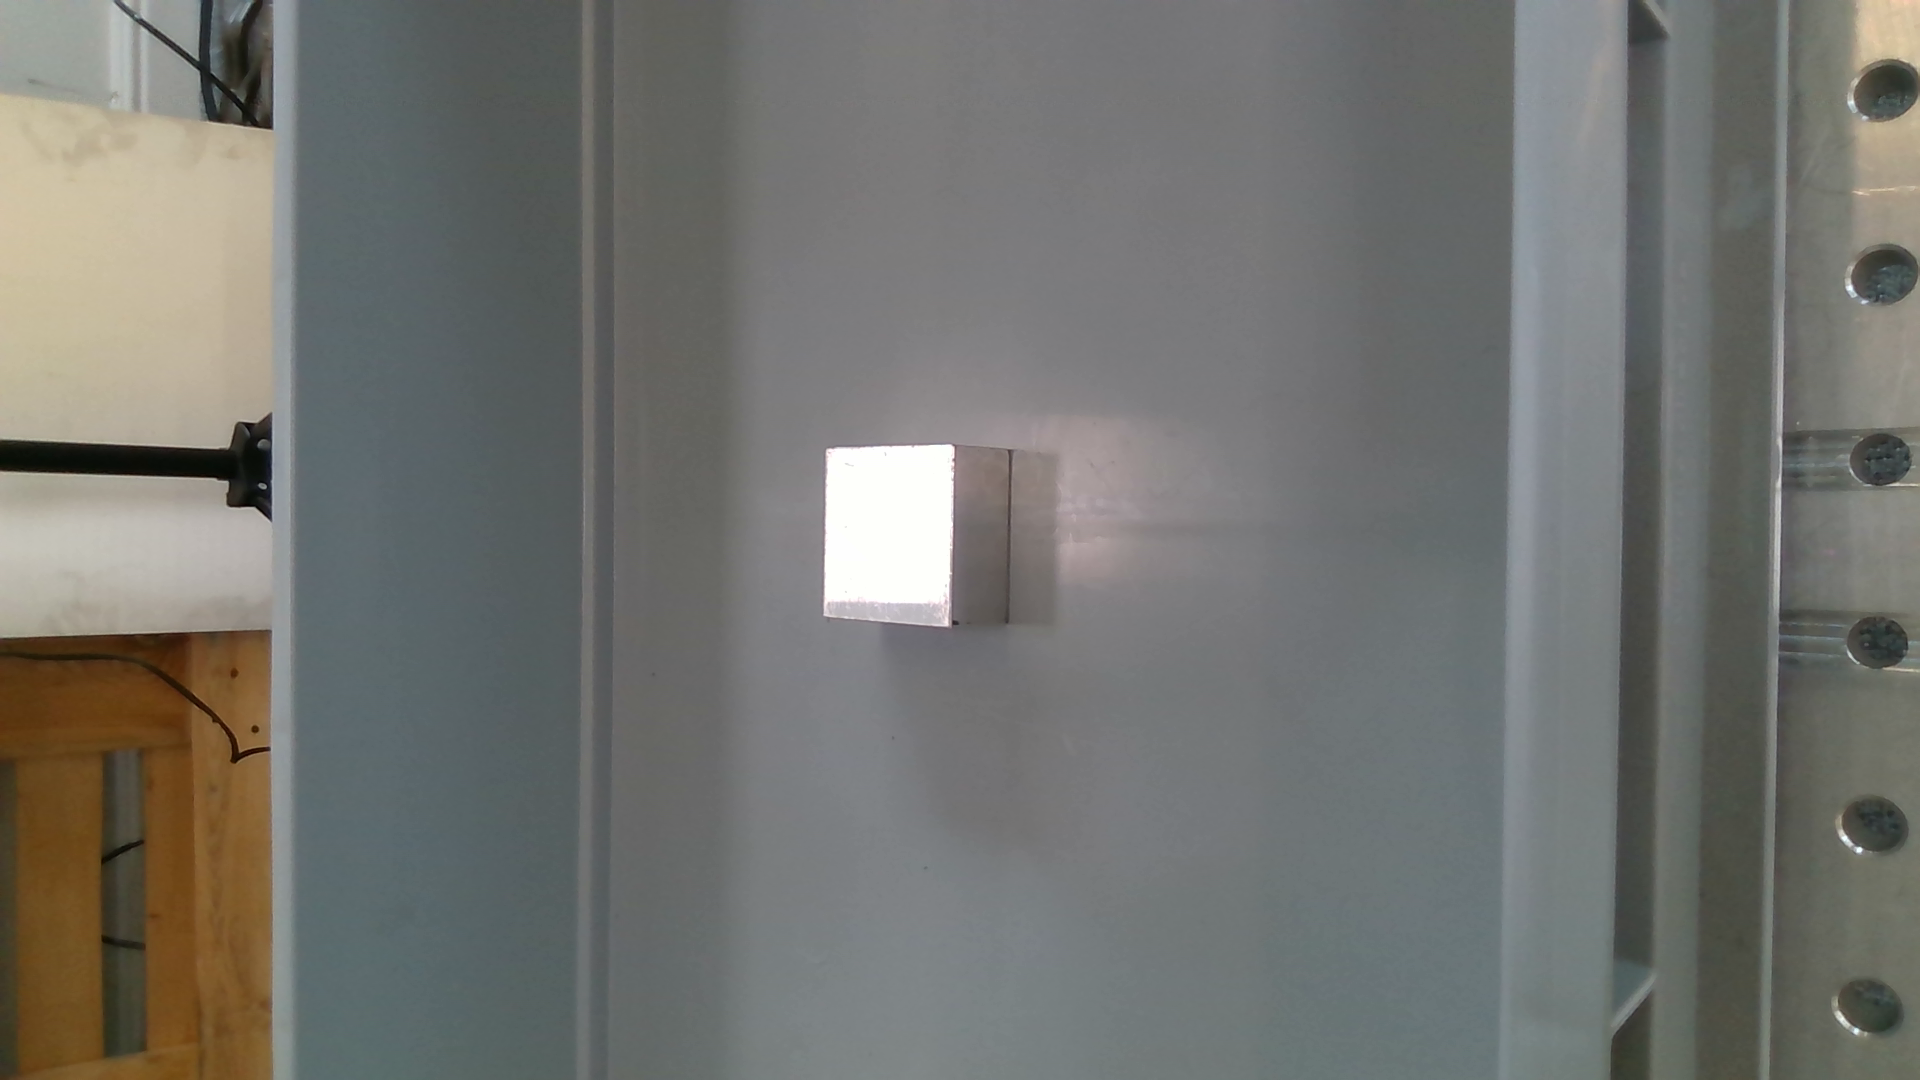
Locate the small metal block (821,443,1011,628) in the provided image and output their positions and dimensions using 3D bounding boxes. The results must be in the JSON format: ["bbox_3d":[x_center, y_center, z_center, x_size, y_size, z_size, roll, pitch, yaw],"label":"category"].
[{"bbox_3d":[-0.013,-0.002,0.397,0.050,0.025,0.050,2,91,40],"label":"small metal block"}]
